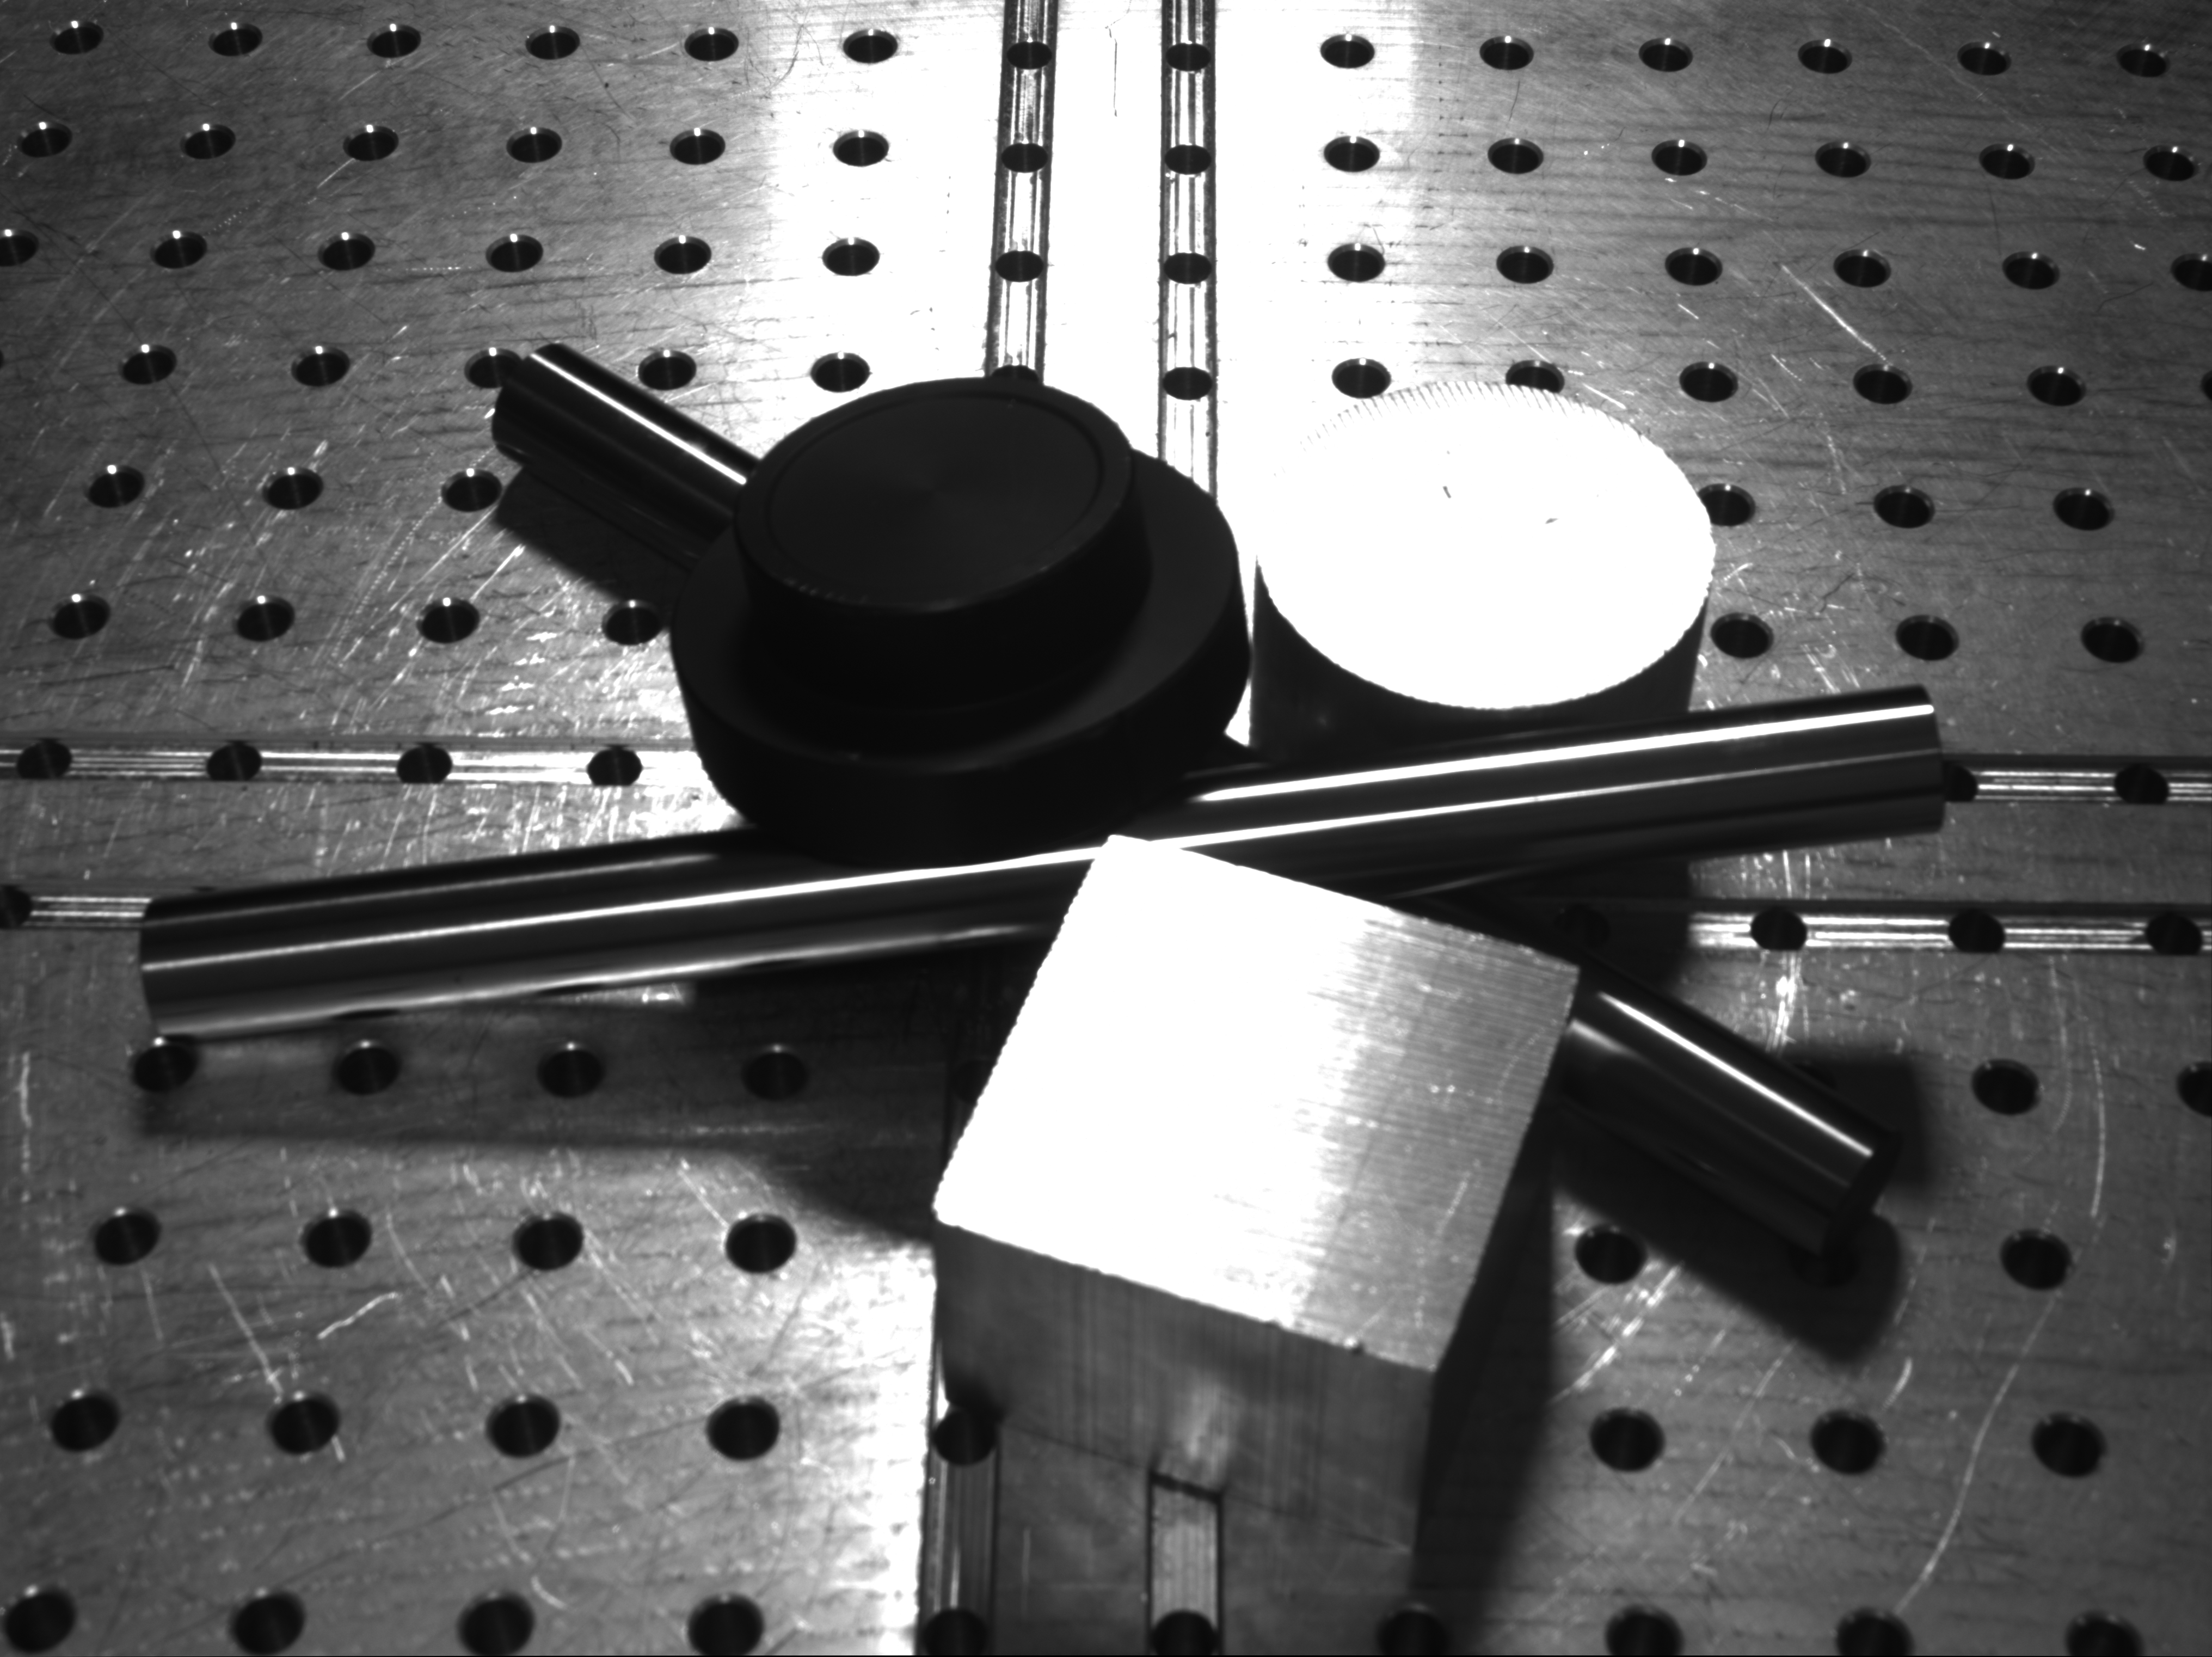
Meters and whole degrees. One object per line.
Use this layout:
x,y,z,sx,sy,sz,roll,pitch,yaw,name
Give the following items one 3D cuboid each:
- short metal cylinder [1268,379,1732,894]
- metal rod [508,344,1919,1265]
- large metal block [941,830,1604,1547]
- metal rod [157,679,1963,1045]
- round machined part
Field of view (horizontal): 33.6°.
0.069,-0.035,0.657,0.080,0.050,0.080,0,50,0,short metal cylinder
0.009,-0.012,0.655,0.299,0.025,0.025,32,57,24,metal rod
0.027,0.056,0.579,0.080,0.050,0.080,16,52,13,large metal block
-0.009,0.006,0.616,0.300,0.025,0.025,-7,50,4,metal rod
-0.024,-0.040,0.624,0.098,0.042,0.098,-4,41,4,round machined part
